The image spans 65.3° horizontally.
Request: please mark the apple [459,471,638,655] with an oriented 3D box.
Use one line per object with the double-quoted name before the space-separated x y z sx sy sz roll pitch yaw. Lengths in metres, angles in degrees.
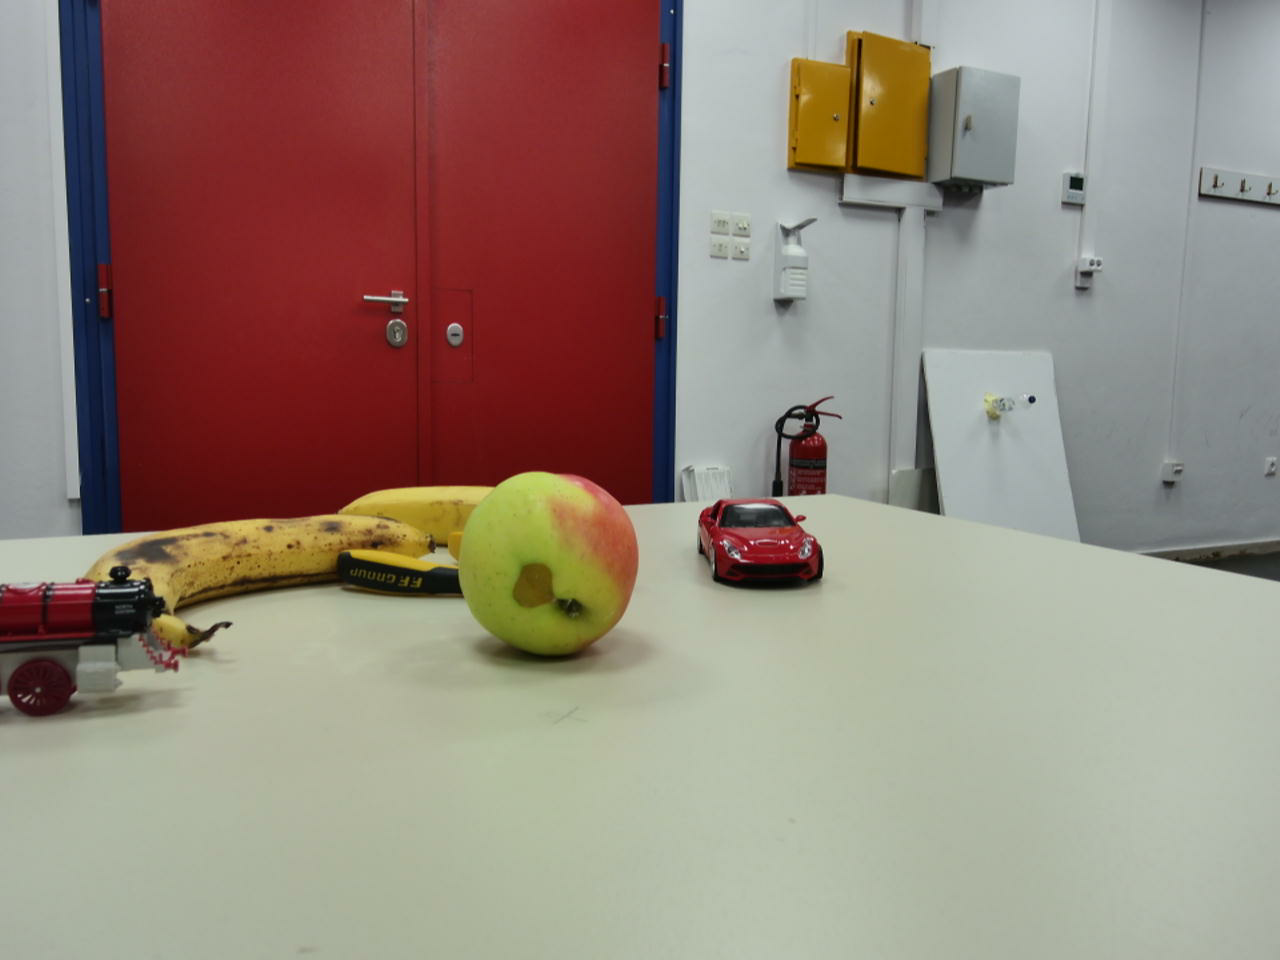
"apple" -0.037 0.034 0.419 0.075 0.074 0.075 4 6 44
